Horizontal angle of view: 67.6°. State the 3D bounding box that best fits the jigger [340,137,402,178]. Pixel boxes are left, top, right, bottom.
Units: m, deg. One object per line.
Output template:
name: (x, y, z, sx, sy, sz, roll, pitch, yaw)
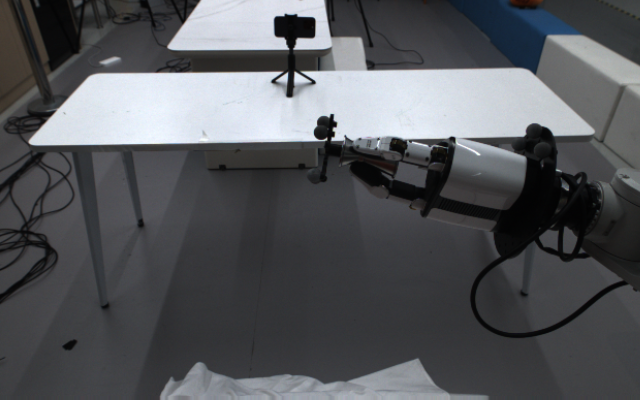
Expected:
jigger: (0.066, -0.056, 0.585, 0.071, 0.043, 0.043, 10, 35, 2)
